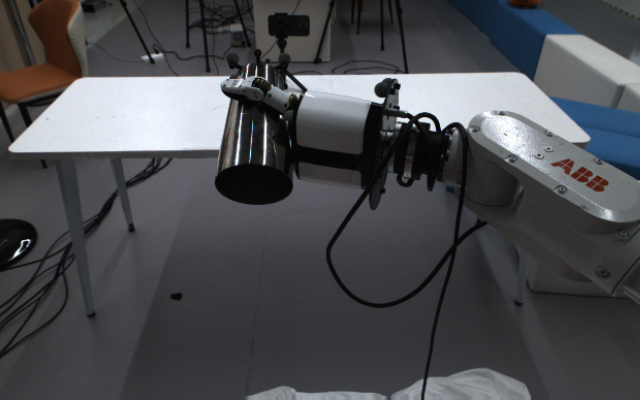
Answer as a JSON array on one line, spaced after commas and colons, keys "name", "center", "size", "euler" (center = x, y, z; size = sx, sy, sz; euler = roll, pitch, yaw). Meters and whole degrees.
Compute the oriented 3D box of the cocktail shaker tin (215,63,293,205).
[{"name": "cocktail shaker tin", "center": [-0.081, -0.091, 0.609], "size": [0.093, 0.093, 0.170], "euler": [0, 59, -3]}]
